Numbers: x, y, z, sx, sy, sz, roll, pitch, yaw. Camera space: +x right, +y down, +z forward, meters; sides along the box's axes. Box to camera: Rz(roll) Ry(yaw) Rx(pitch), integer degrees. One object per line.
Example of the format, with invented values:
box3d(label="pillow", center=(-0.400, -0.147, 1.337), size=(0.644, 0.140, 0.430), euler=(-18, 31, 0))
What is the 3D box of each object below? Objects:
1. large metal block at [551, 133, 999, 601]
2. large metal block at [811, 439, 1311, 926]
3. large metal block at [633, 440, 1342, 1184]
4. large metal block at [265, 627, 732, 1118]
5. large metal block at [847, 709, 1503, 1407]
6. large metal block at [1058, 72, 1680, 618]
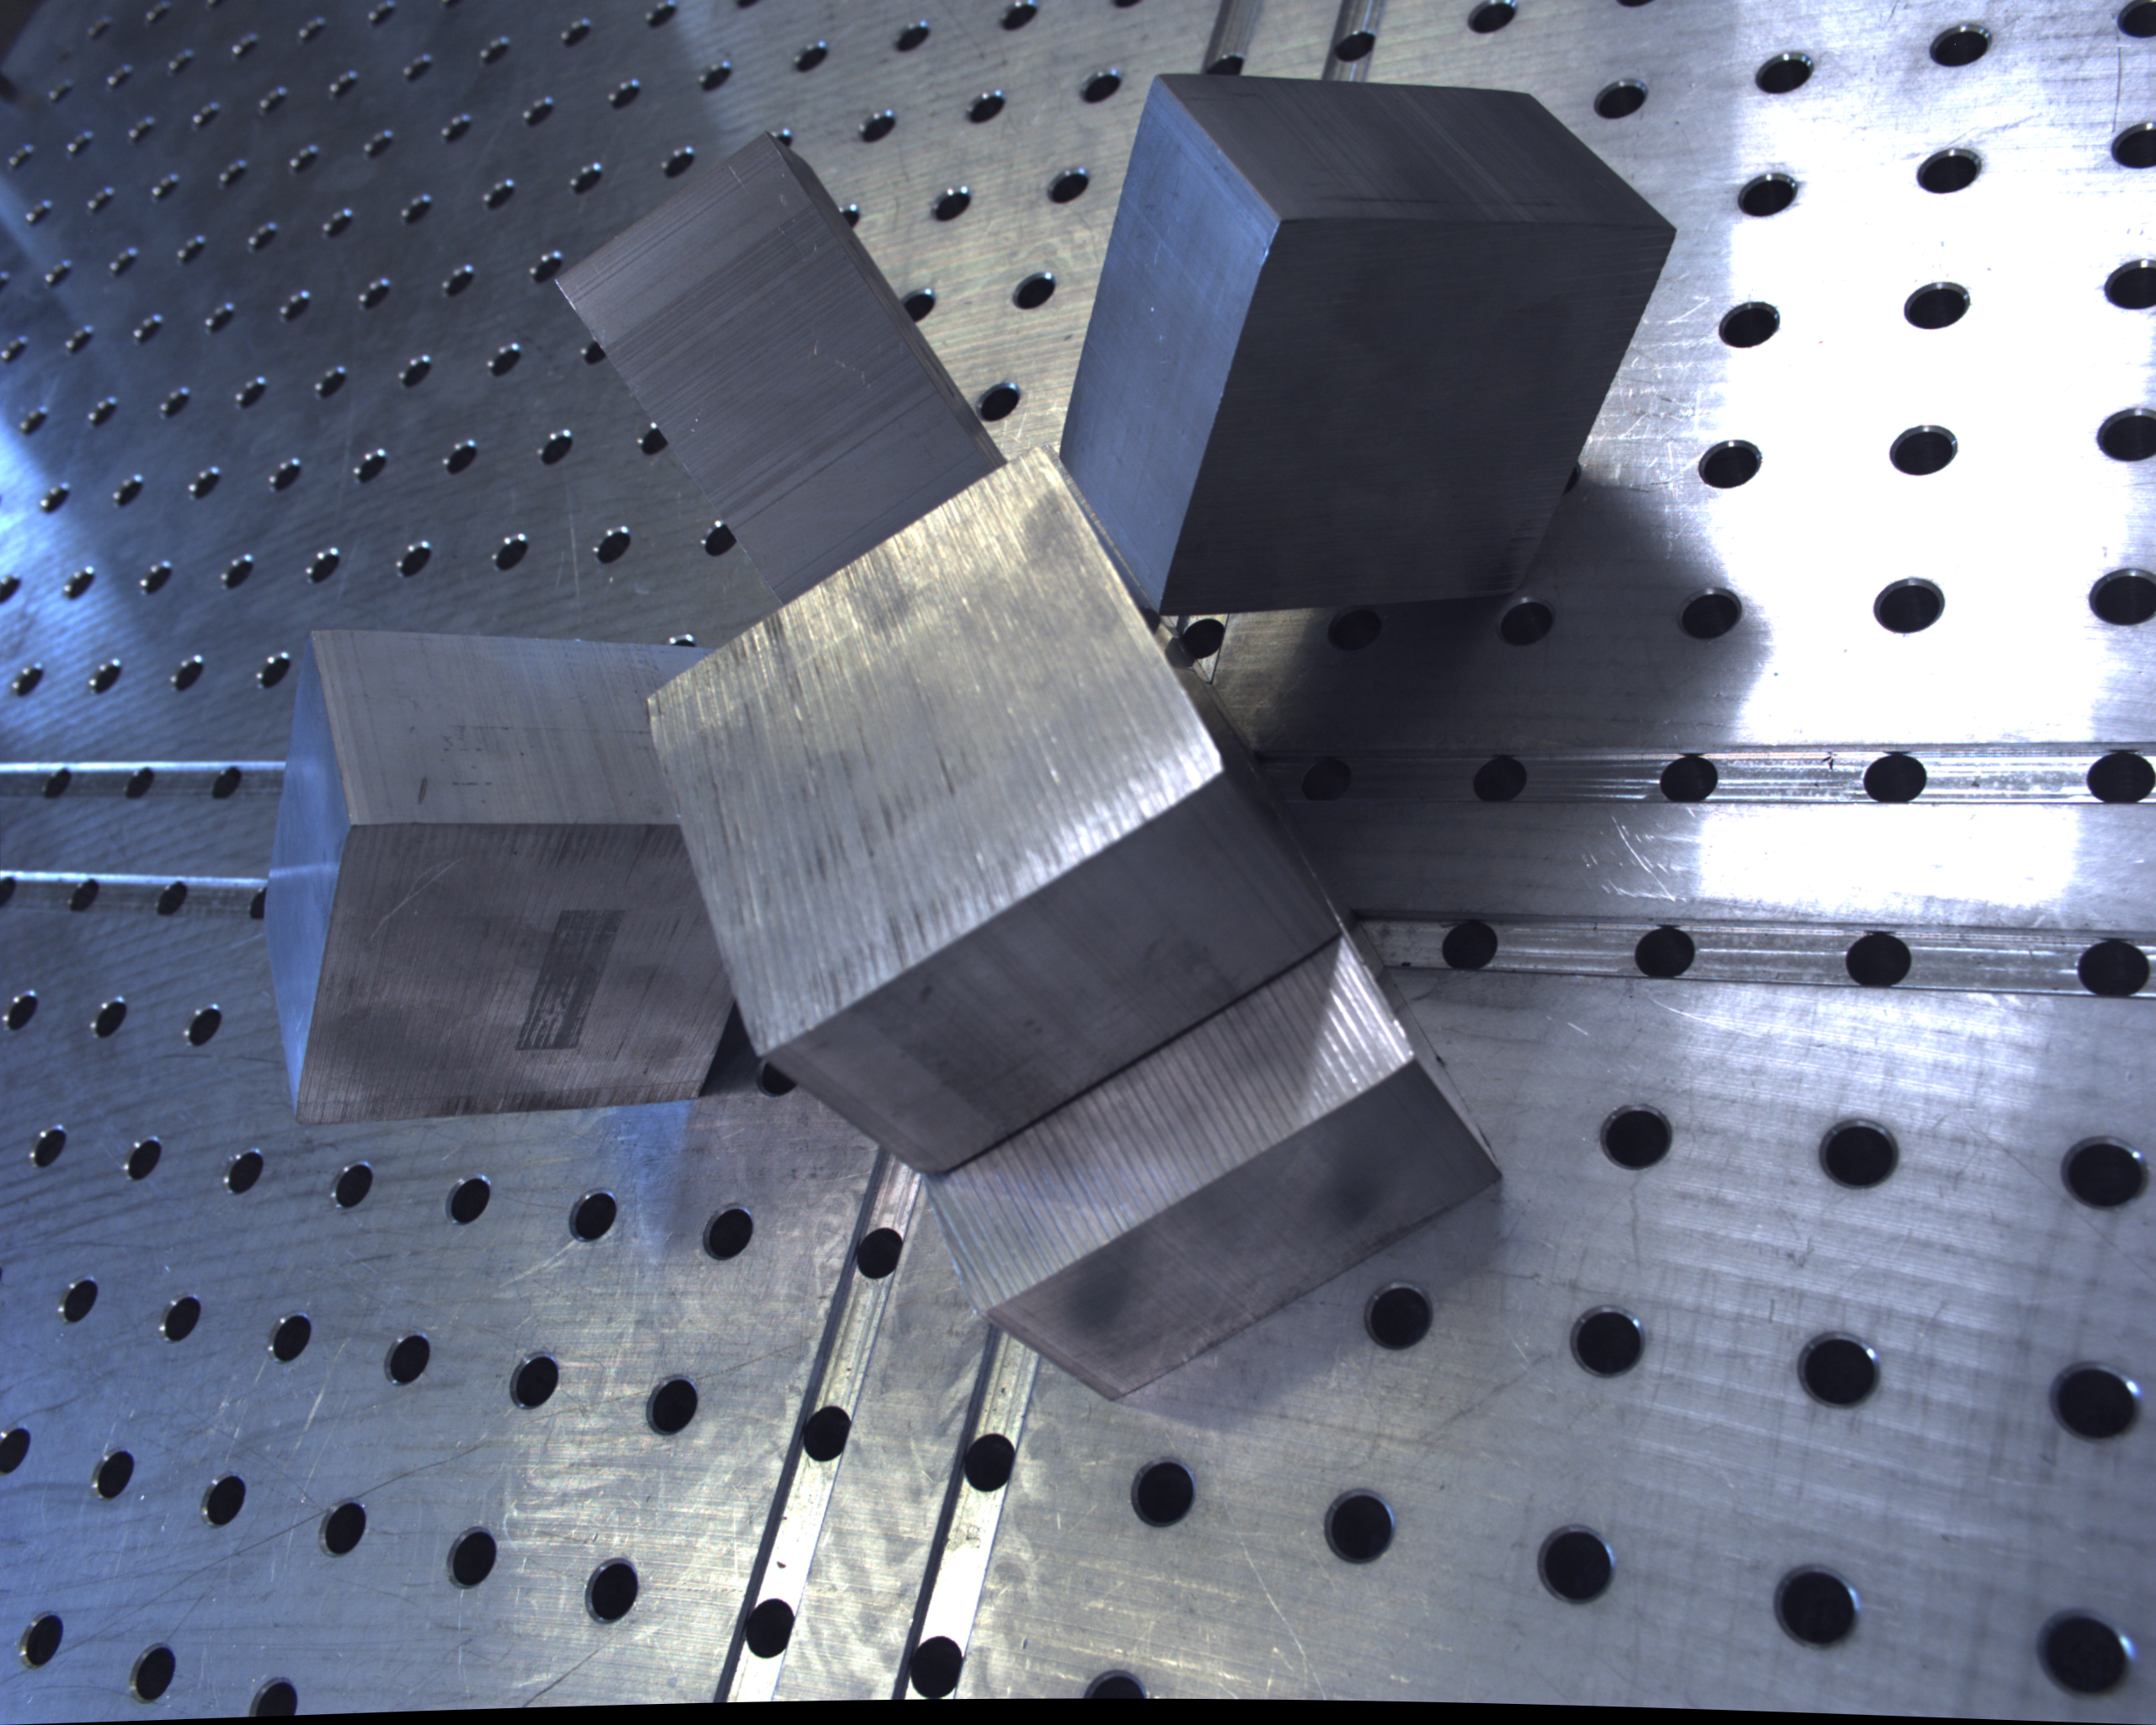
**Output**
box3d(label="large metal block", center=(-0.059, -0.104, 0.449), size=(0.050, 0.080, 0.080), euler=(-33, 12, 7))
box3d(label="large metal block", center=(-0.013, -0.023, 0.415), size=(0.080, 0.050, 0.080), euler=(-33, 51, 6))
box3d(label="large metal block", center=(-0.016, -0.008, 0.341), size=(0.080, 0.050, 0.080), euler=(-32, 52, 6))
box3d(label="large metal block", center=(-0.111, 0.003, 0.411), size=(0.050, 0.081, 0.080), euler=(62, 140, 39))
box3d(label="large metal block", center=(0.014, 0.034, 0.364), size=(0.080, 0.050, 0.080), euler=(-31, 50, 7))
box3d(label="large metal block", center=(0.050, -0.094, 0.385), size=(0.081, 0.080, 0.050), euler=(-7, 47, -24))
